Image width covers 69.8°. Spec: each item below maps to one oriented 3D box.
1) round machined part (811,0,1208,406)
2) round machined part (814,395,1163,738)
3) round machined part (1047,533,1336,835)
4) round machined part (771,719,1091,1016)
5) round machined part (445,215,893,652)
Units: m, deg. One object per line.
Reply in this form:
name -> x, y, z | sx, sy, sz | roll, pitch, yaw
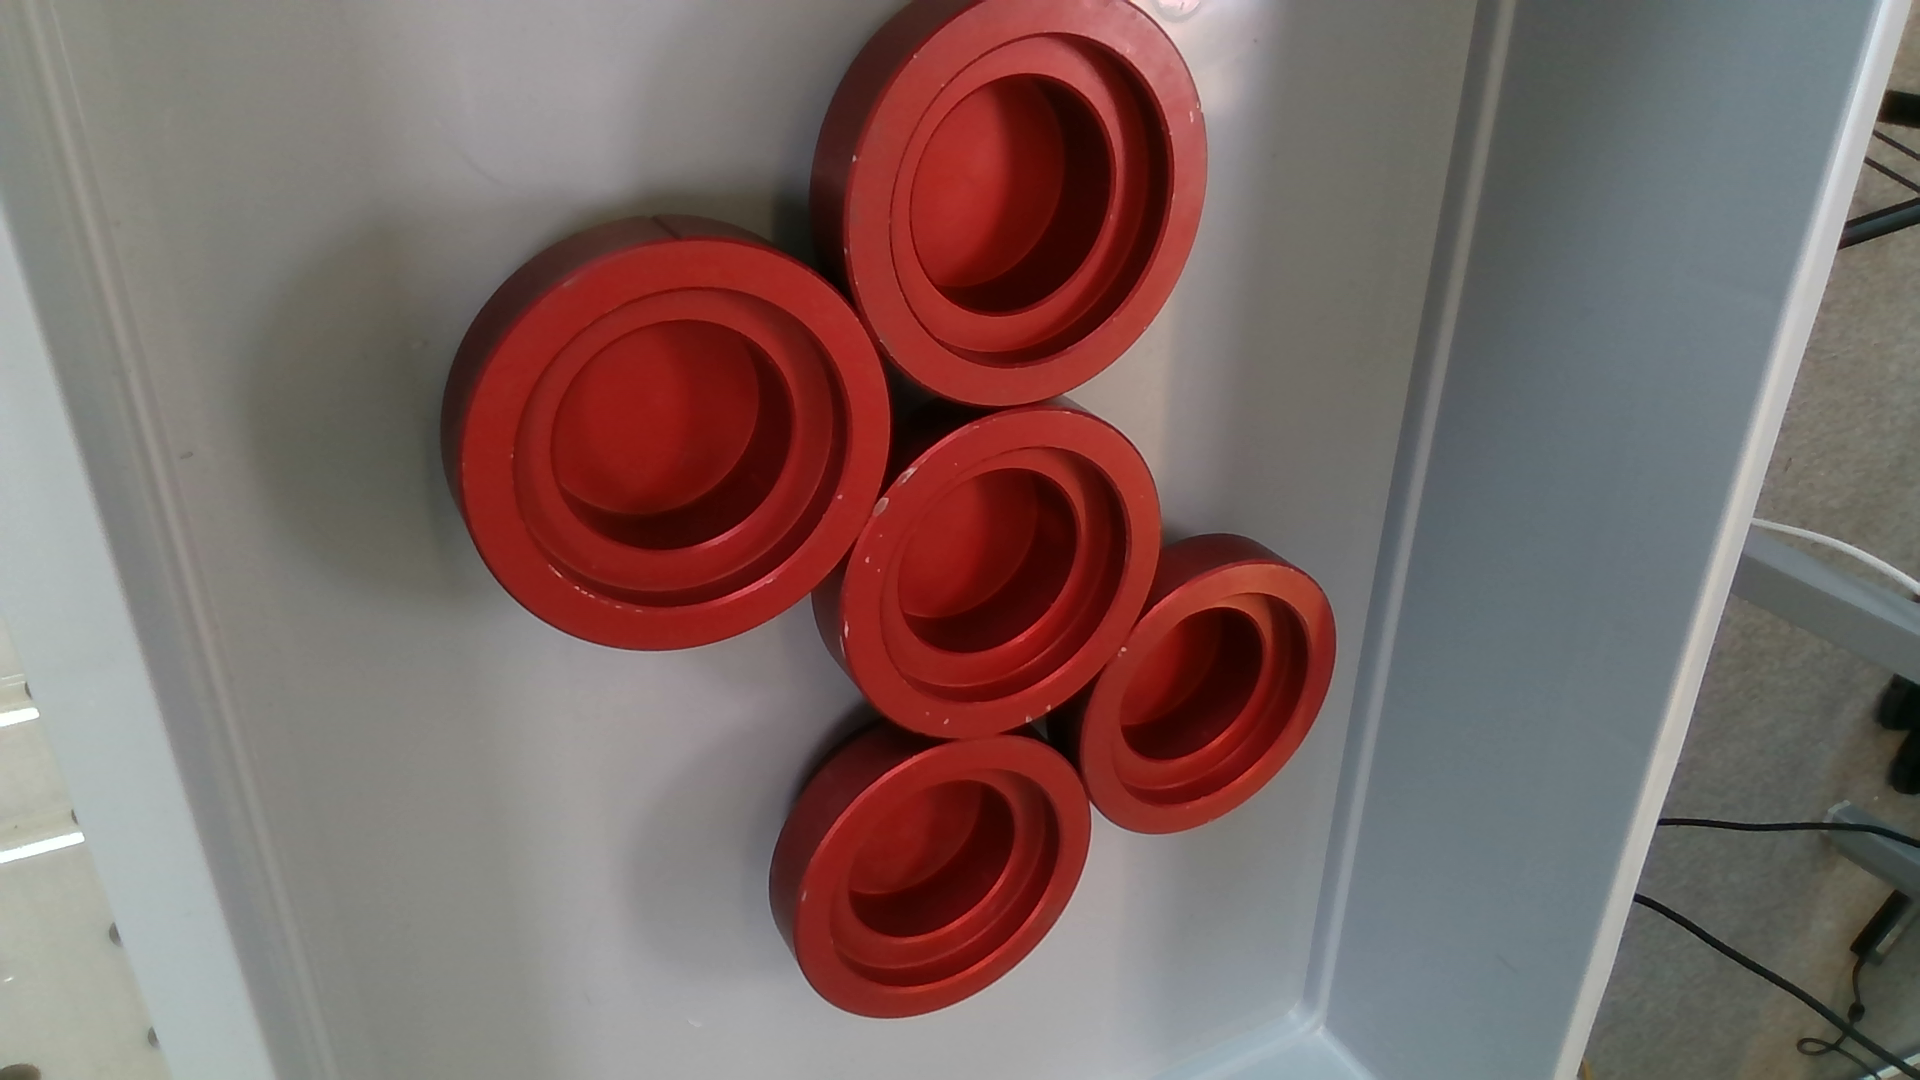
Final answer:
round machined part -> 0.009, -0.086, 0.335 | 0.098, 0.042, 0.098 | -14, 122, -25
round machined part -> 0.004, 0.002, 0.379 | 0.098, 0.042, 0.098 | -14, 122, -25
round machined part -> 0.069, 0.042, 0.442 | 0.098, 0.042, 0.098 | -14, 122, -25
round machined part -> -0.012, 0.091, 0.418 | 0.098, 0.042, 0.098 | -14, 122, -25
round machined part -> -0.068, -0.027, 0.319 | 0.098, 0.042, 0.098 | -14, 122, -25
